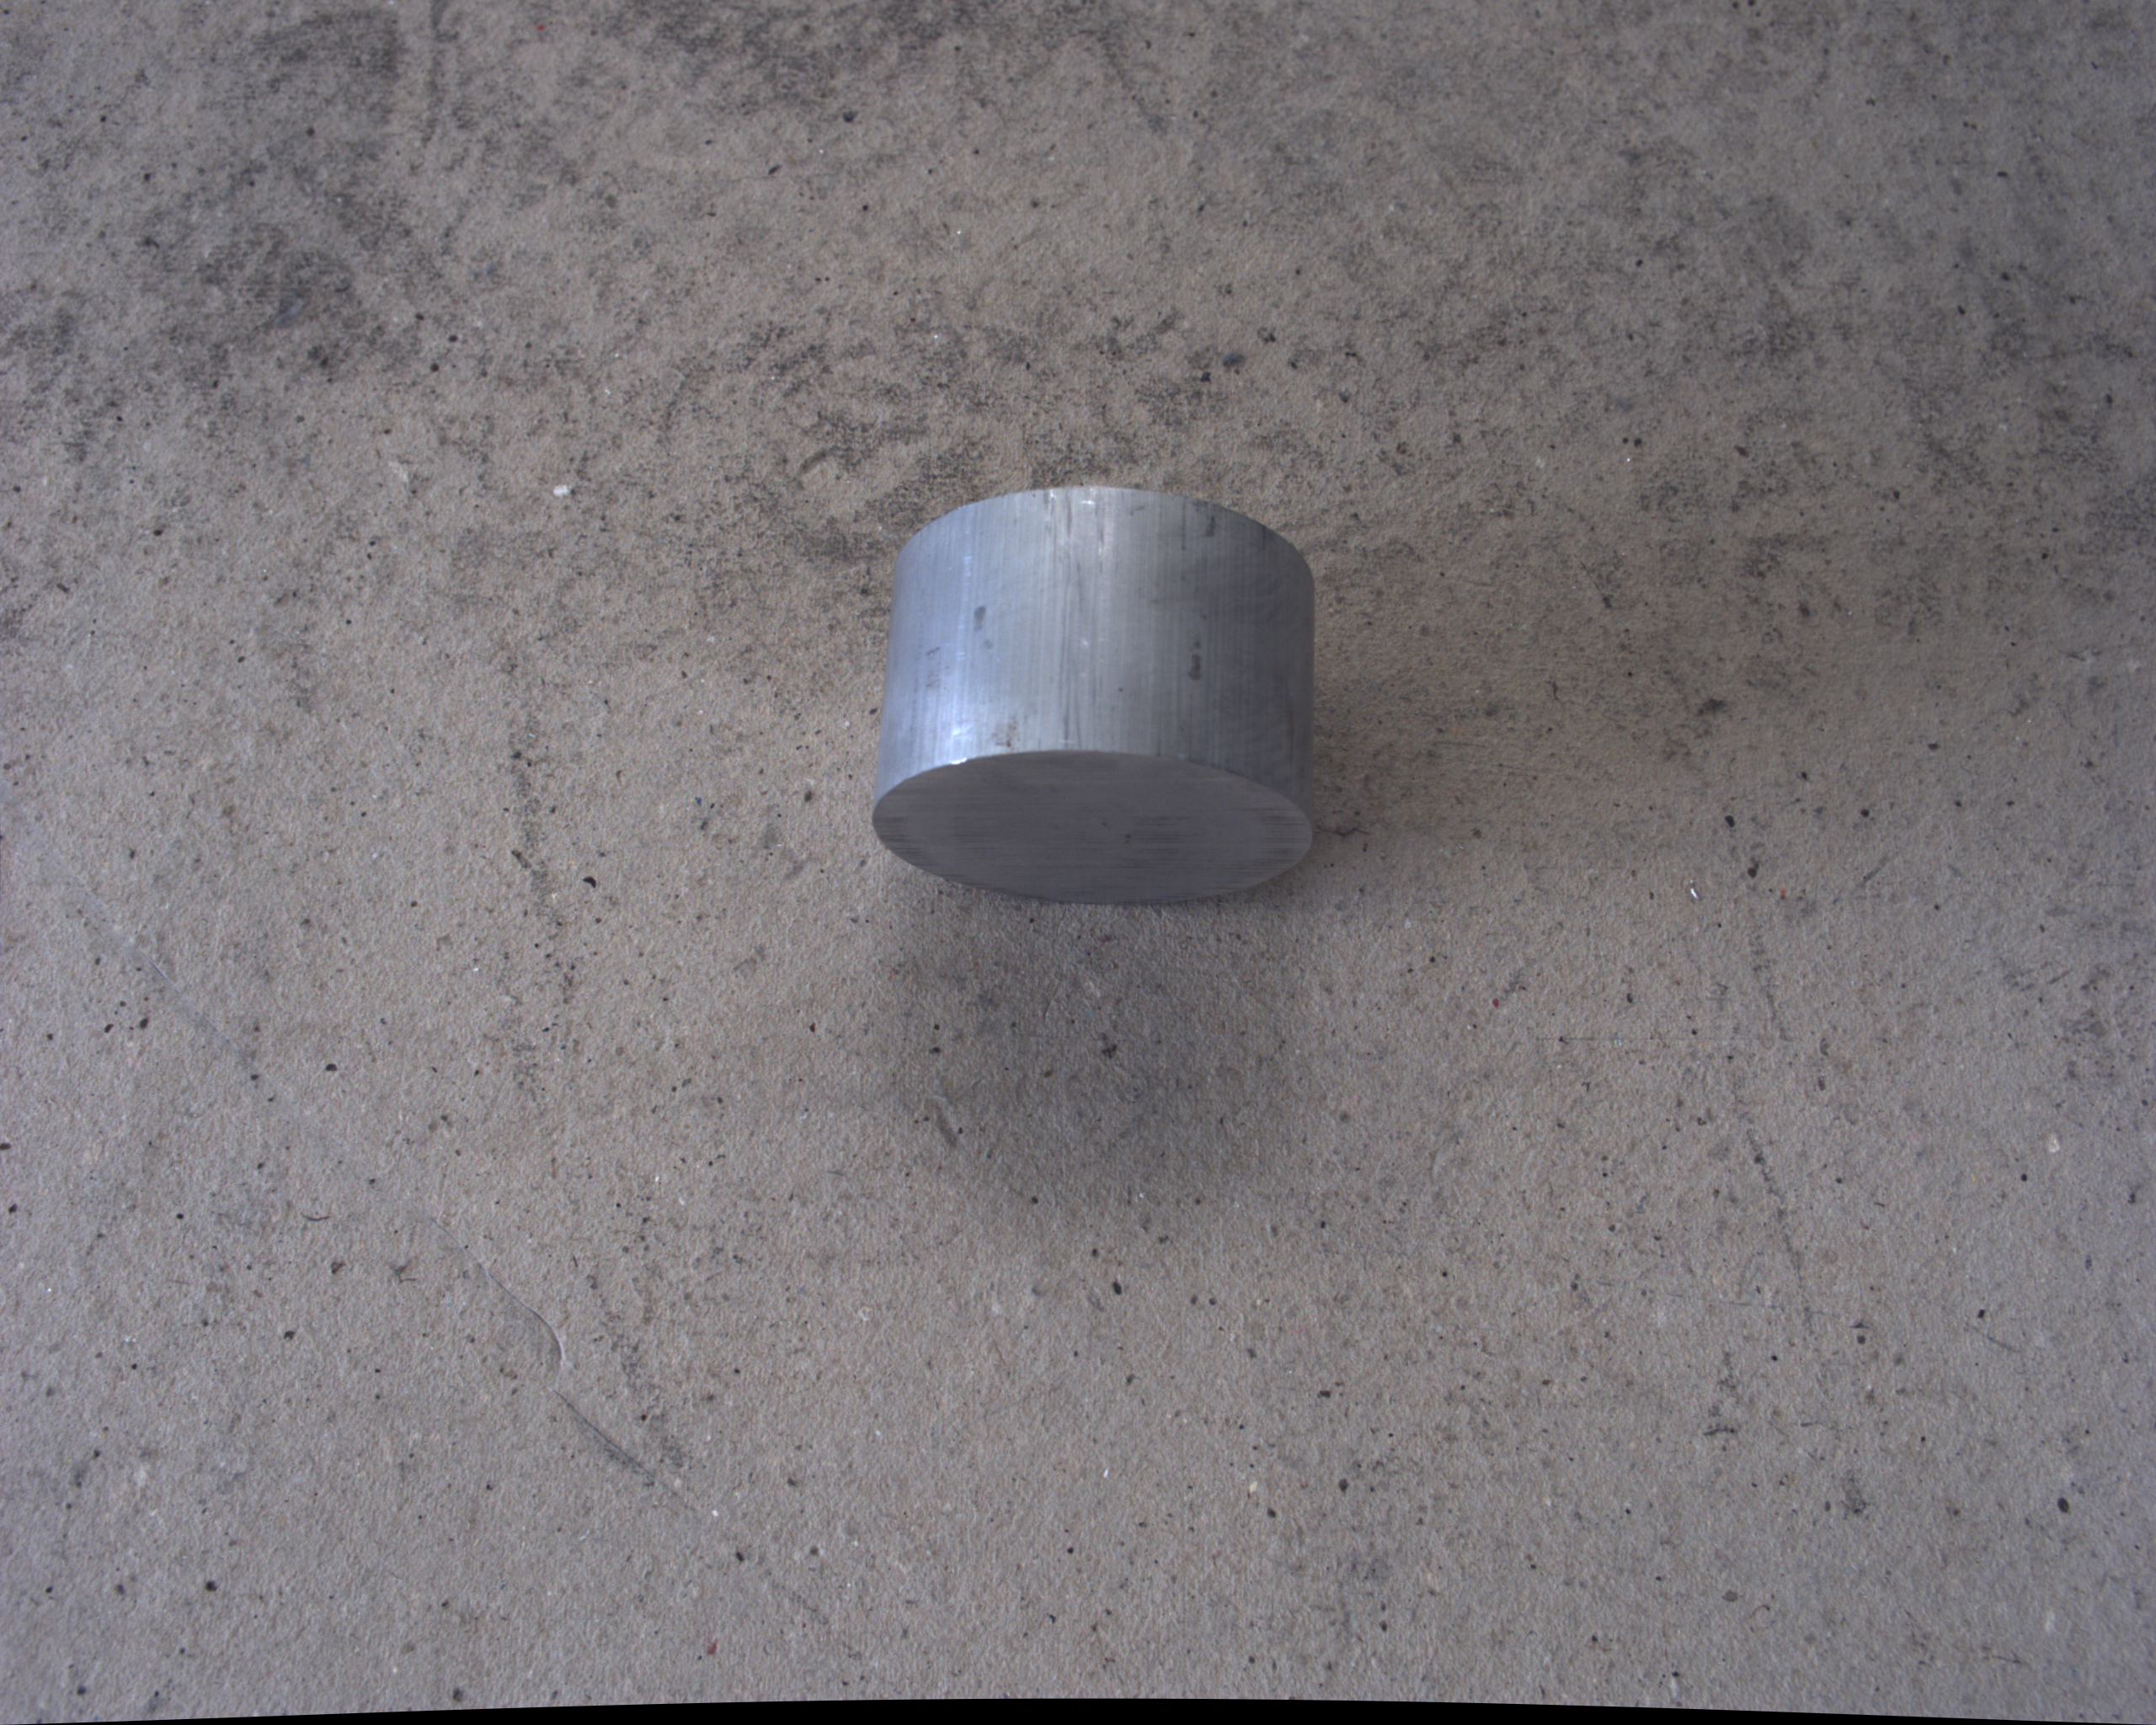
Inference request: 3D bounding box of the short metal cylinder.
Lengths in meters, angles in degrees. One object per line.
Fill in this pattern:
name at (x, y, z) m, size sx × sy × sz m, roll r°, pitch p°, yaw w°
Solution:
short metal cylinder at (0.004, -0.028, 0.391) m, size 0.080 × 0.080 × 0.050 m, roll 2°, pitch 70°, yaw 1°
